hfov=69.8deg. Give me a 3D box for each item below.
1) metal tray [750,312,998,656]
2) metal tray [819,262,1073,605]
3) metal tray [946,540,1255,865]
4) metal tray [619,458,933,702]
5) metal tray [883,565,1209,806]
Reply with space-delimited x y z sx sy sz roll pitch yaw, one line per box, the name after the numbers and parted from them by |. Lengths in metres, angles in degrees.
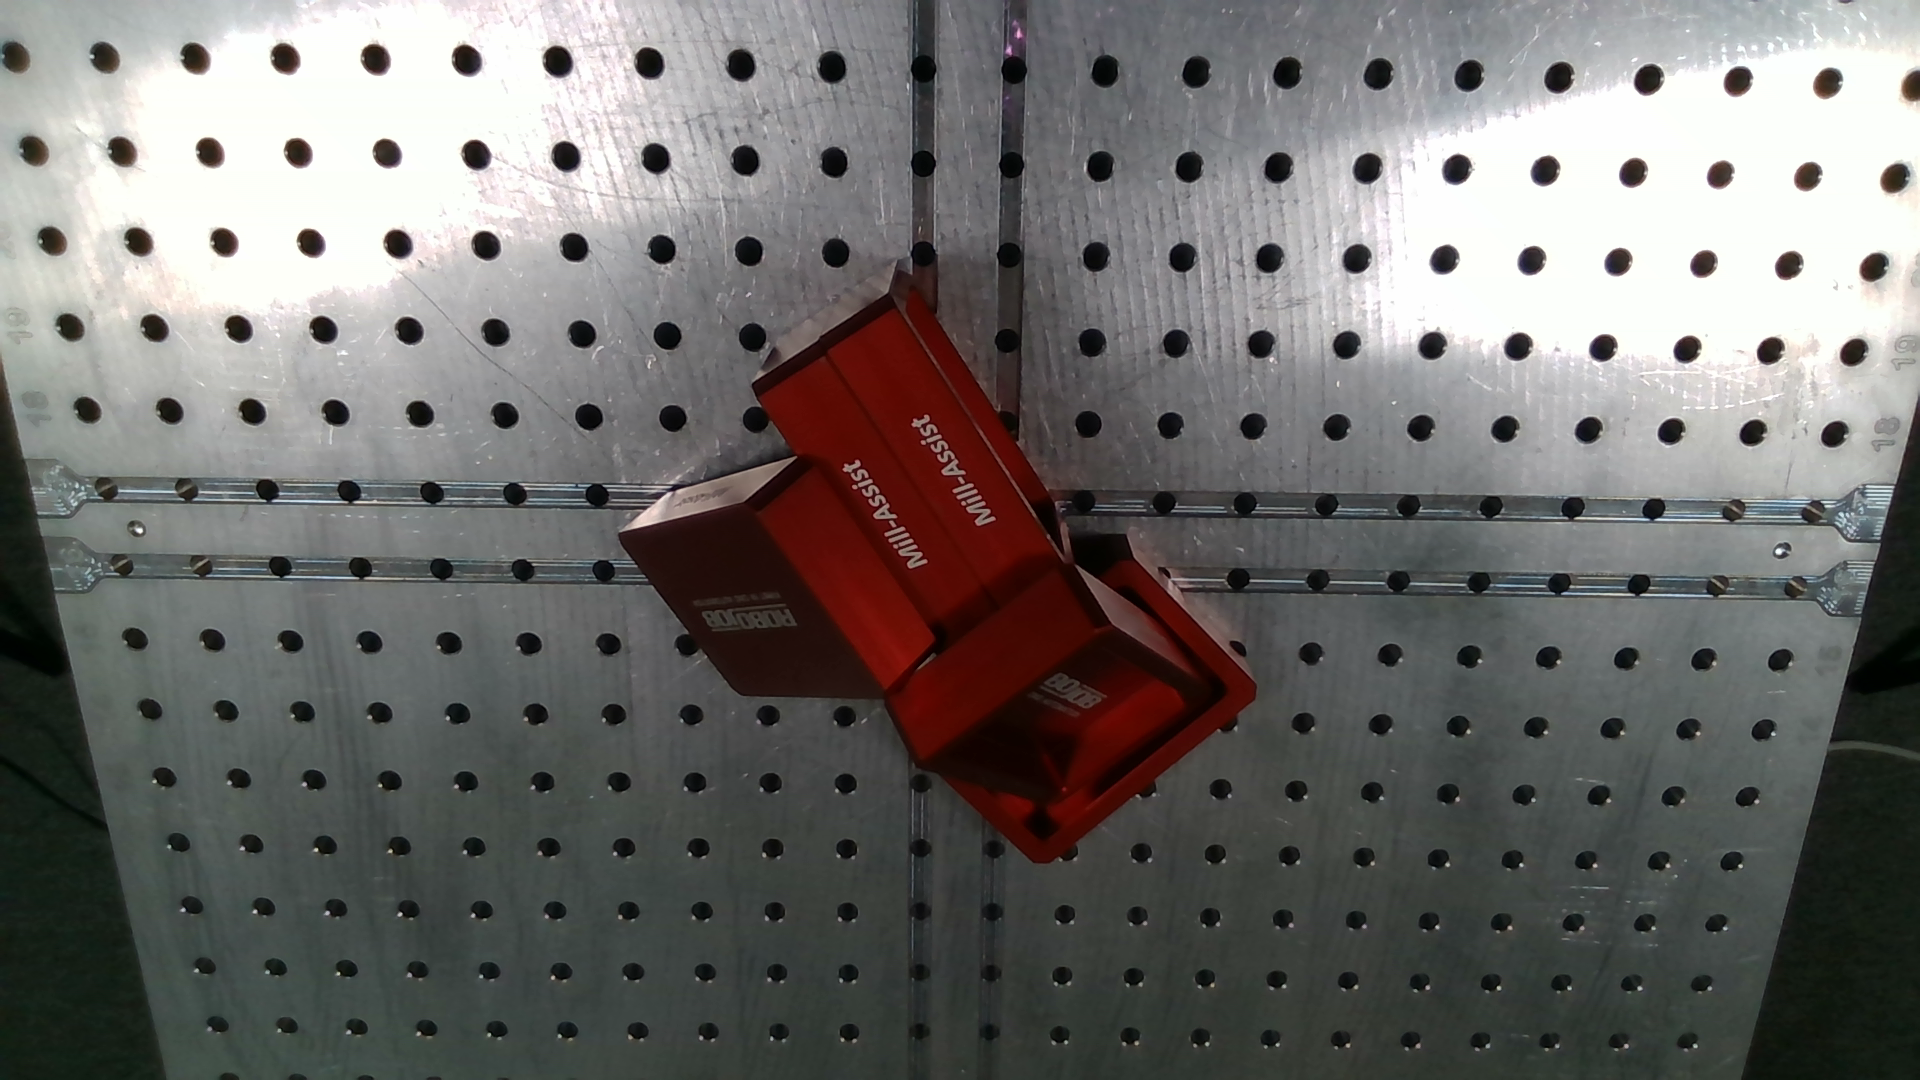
-0.027 -0.024 0.542 0.030 0.090 0.130 -31 107 11 | metal tray
-0.002 -0.041 0.537 0.030 0.090 0.130 -31 107 11 | metal tray
0.052 0.073 0.610 0.130 0.030 0.090 -42 105 14 | metal tray
-0.077 0.020 0.545 0.030 0.130 0.090 -44 109 -29 | metal tray
0.039 0.063 0.550 0.090 0.030 0.130 -38 150 13 | metal tray
